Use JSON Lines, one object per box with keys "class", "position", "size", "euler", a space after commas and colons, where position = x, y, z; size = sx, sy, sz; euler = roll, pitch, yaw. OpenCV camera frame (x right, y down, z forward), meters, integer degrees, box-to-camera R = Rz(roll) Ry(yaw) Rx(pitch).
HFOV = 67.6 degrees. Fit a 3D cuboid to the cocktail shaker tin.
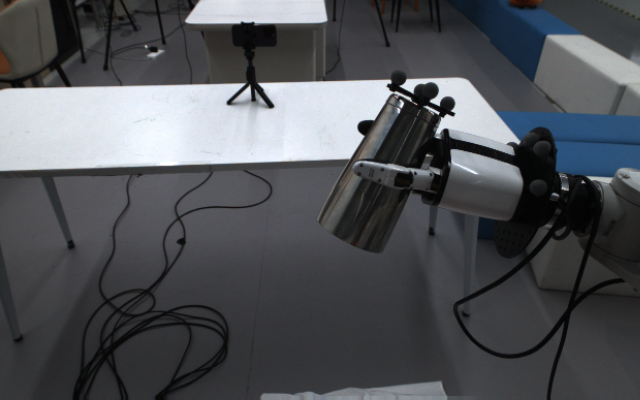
{"class": "cocktail shaker tin", "position": [0.076, -0.036, 0.574], "size": [0.093, 0.170, 0.093], "euler": [24, 13, -6]}
